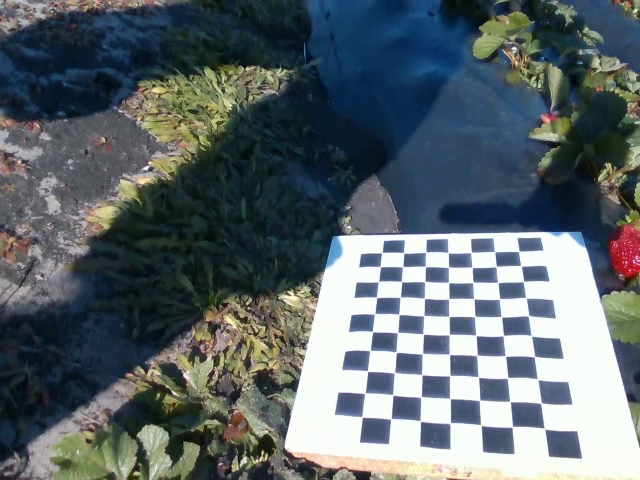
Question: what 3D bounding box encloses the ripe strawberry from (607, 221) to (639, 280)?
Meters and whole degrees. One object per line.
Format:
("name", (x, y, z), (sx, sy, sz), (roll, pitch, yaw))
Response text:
("ripe strawberry", (0.316, 0.011, 0.650), (0.066, 0.062, 0.058), (-33, 14, -23))
